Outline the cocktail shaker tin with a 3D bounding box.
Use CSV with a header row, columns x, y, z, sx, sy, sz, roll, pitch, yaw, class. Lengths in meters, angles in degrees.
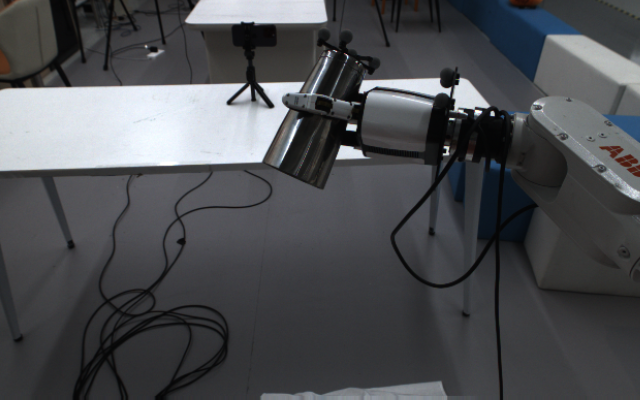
x,y,z,sx,sy,sz,roll,pitch,yaw,class
0.000,-0.113,0.653,0.093,0.170,0.093,23,0,0,cocktail shaker tin
